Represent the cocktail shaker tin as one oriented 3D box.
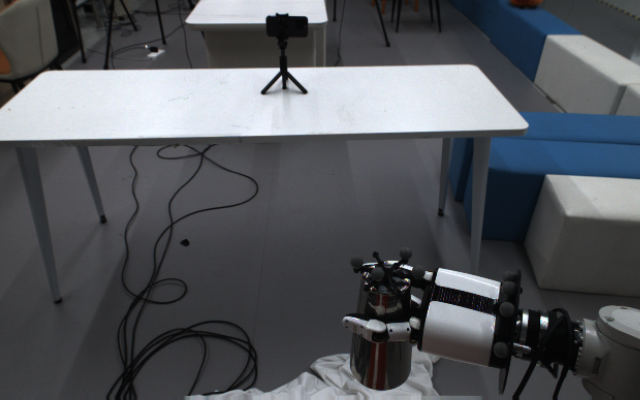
[{"bbox_3d":[0.093,0.172,0.685,0.093,0.170,0.093,-1,32,1],"label":"cocktail shaker tin"}]
